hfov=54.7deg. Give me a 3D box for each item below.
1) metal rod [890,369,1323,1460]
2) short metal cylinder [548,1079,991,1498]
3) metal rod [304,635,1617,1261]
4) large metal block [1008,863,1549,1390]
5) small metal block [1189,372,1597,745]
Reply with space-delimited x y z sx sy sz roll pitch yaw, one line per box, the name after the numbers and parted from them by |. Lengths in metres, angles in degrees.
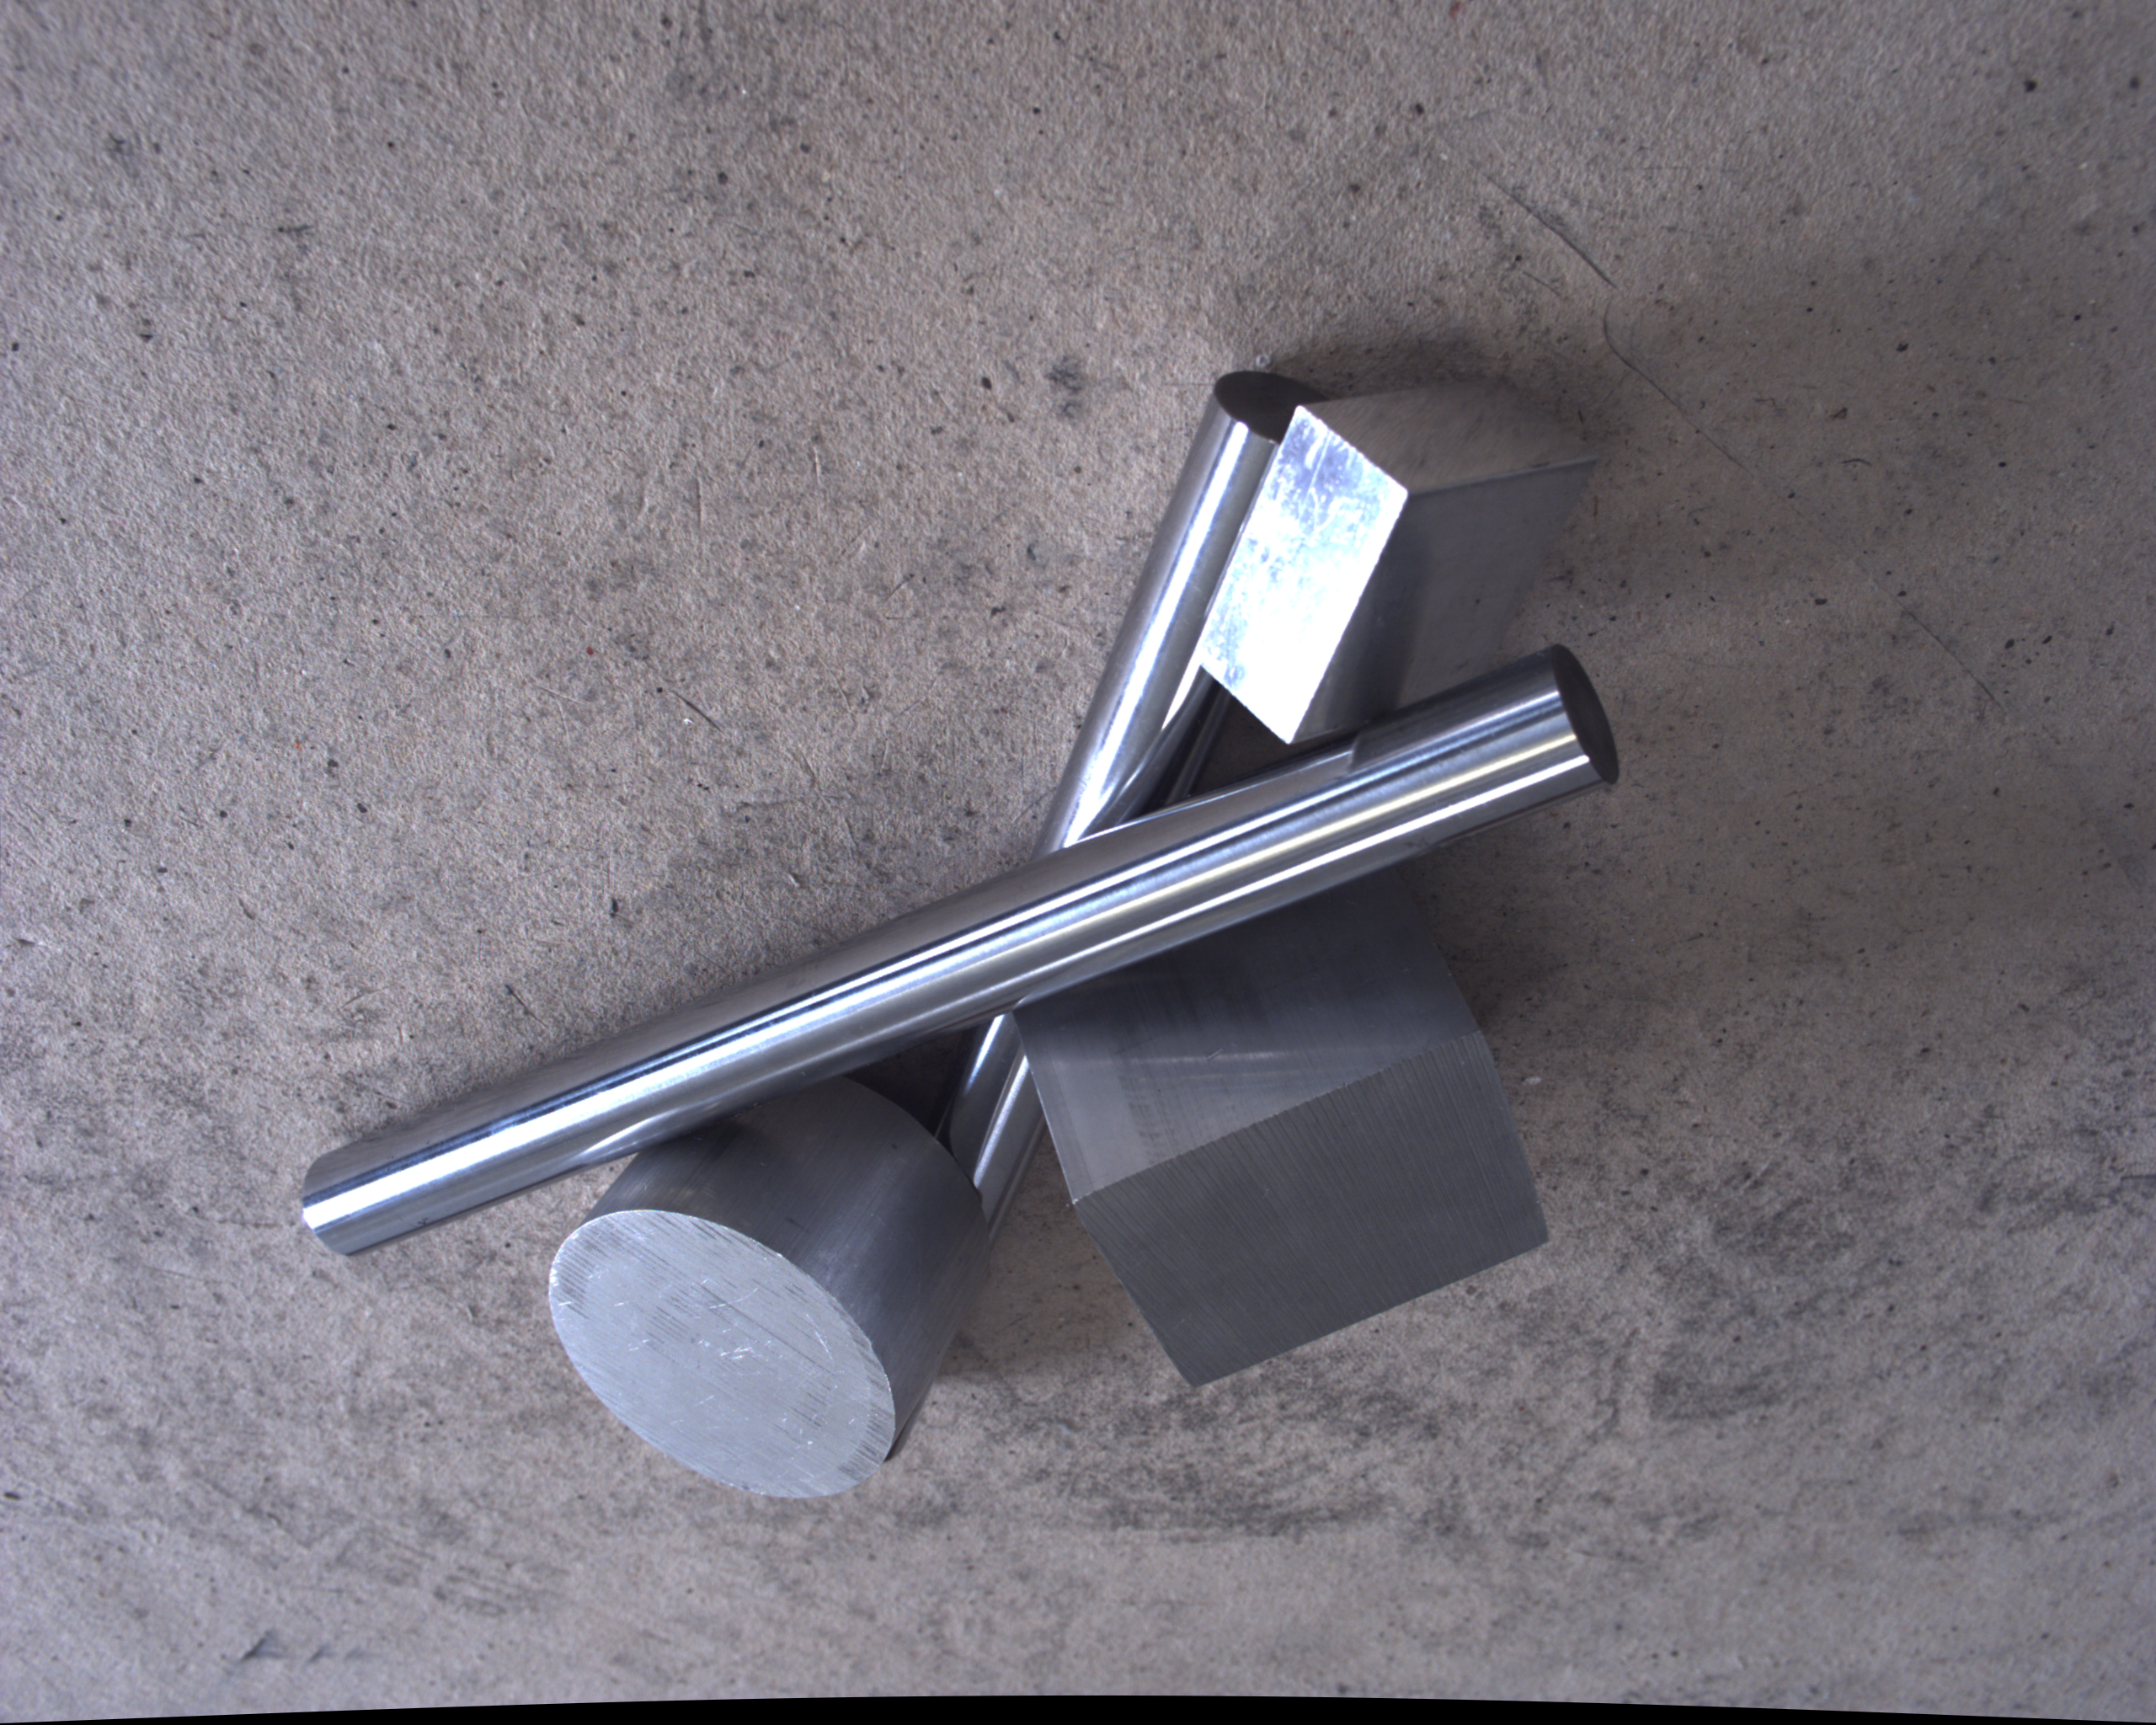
-0.010 0.034 0.436 0.025 0.025 0.298 13 129 -11 | metal rod
-0.066 0.090 0.452 0.080 0.050 0.079 11 125 17 | short metal cylinder
-0.041 0.026 0.408 0.300 0.025 0.025 -23 127 26 | metal rod
0.041 0.052 0.418 0.080 0.050 0.080 -23 137 3 | large metal block
0.052 -0.051 0.349 0.050 0.025 0.050 -18 143 -40 | small metal block
